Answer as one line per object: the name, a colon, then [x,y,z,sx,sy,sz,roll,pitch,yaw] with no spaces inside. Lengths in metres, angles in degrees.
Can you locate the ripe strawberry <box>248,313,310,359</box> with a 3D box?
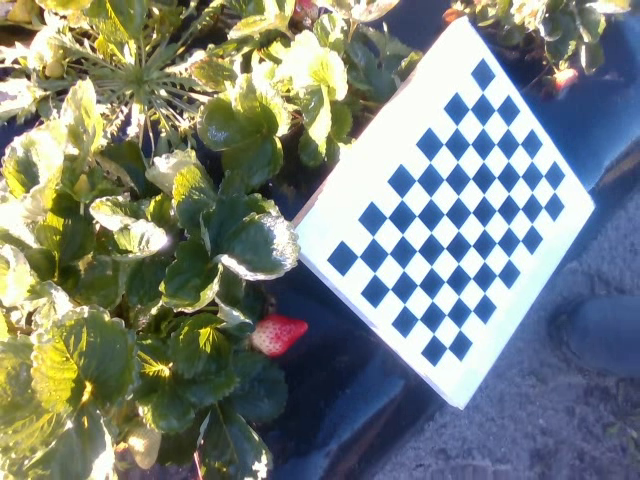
ripe strawberry: [-0.035,0.094,0.601,0.065,0.040,0.040,-9,5,-27]
